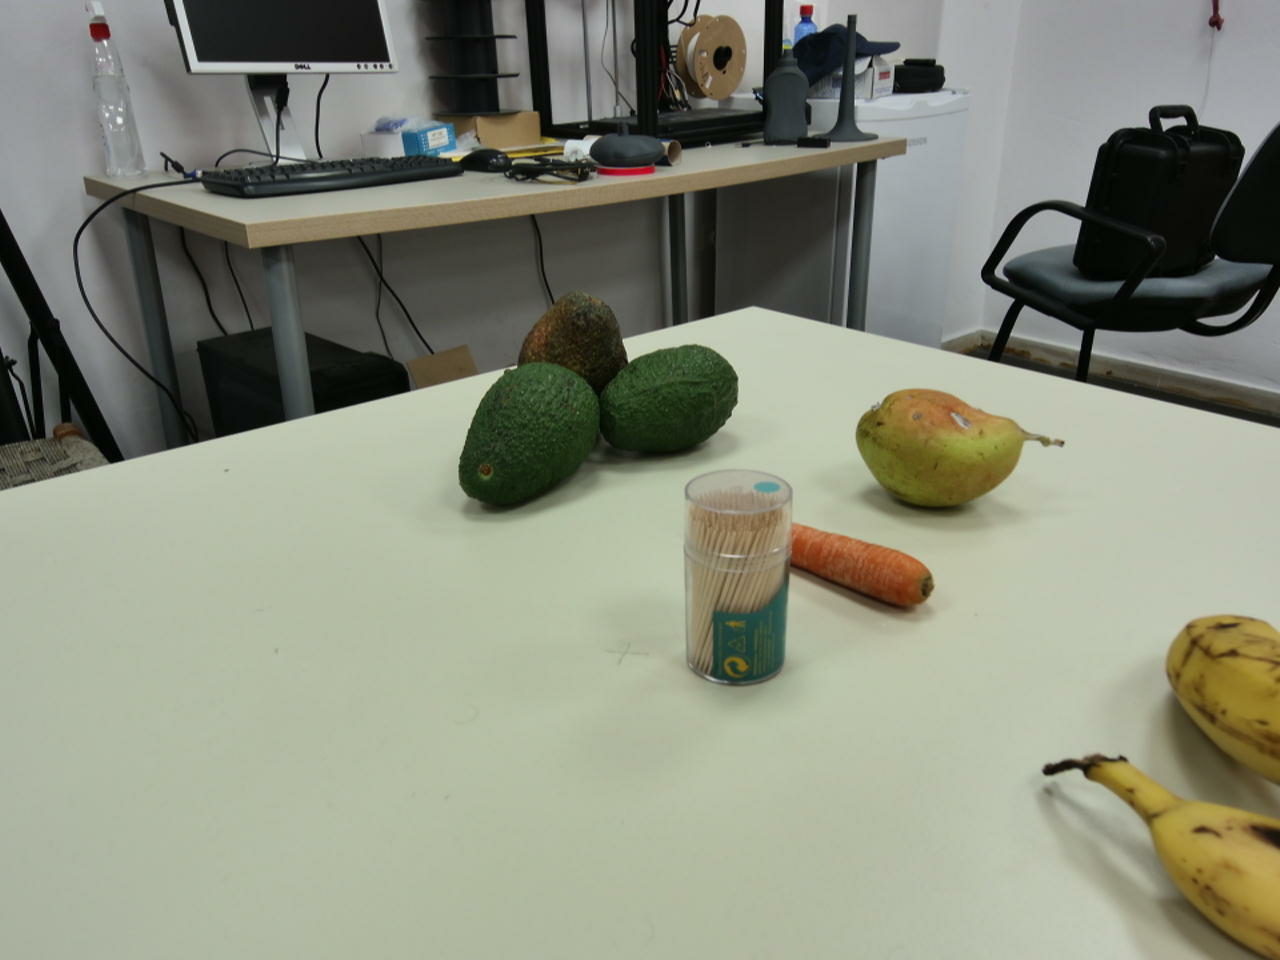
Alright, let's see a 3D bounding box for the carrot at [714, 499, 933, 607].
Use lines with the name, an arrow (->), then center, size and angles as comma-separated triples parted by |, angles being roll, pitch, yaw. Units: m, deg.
carrot -> 0.081, 0.031, 0.466 | 0.024, 0.023, 0.122 | -18, 28, -39
